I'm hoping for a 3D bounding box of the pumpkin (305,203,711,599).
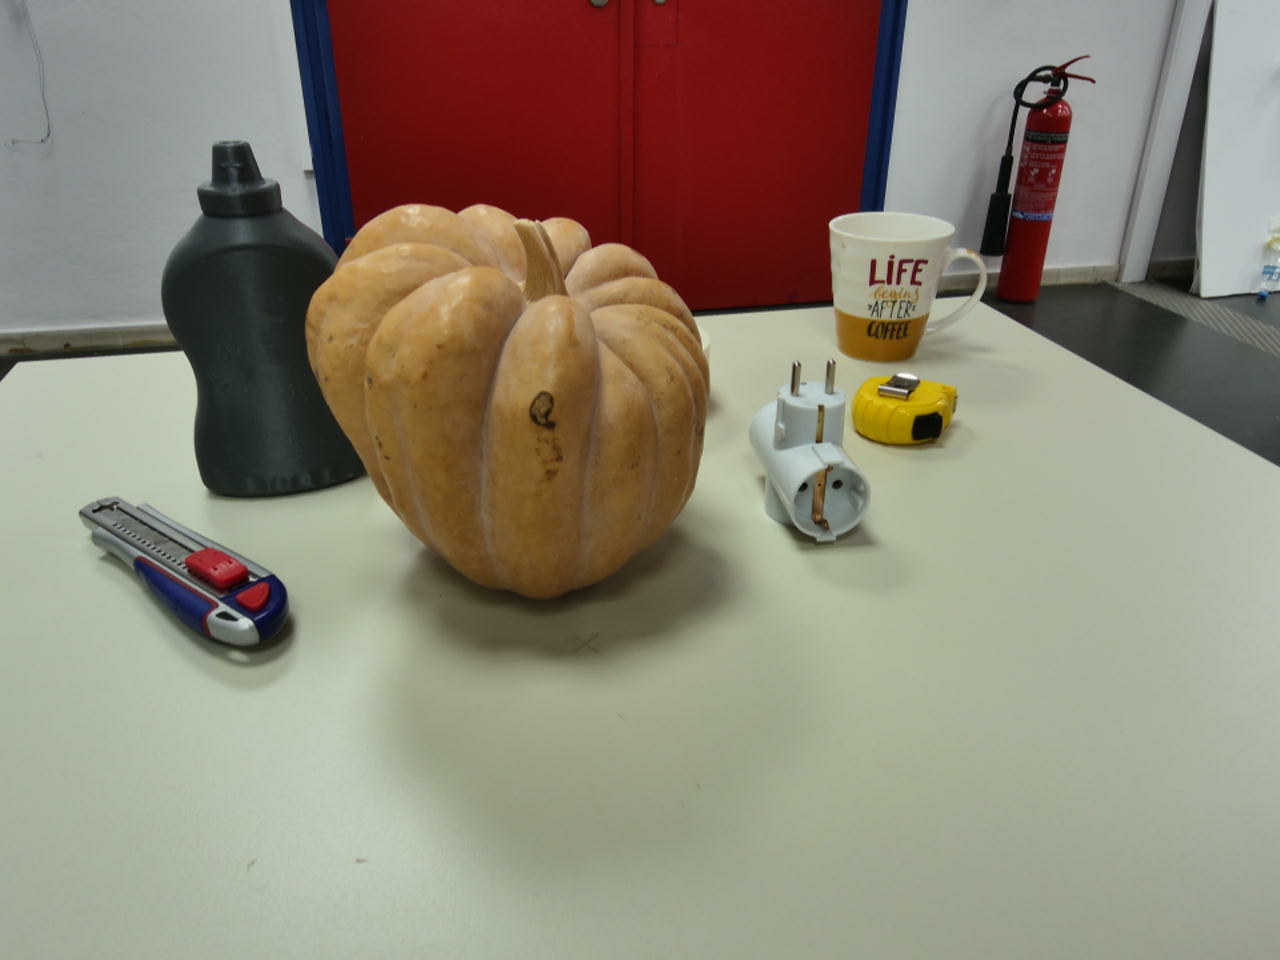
[{"bbox_3d":[-0.059,-0.041,0.485,0.199,0.177,0.198,0,26,0],"label":"pumpkin"}]
